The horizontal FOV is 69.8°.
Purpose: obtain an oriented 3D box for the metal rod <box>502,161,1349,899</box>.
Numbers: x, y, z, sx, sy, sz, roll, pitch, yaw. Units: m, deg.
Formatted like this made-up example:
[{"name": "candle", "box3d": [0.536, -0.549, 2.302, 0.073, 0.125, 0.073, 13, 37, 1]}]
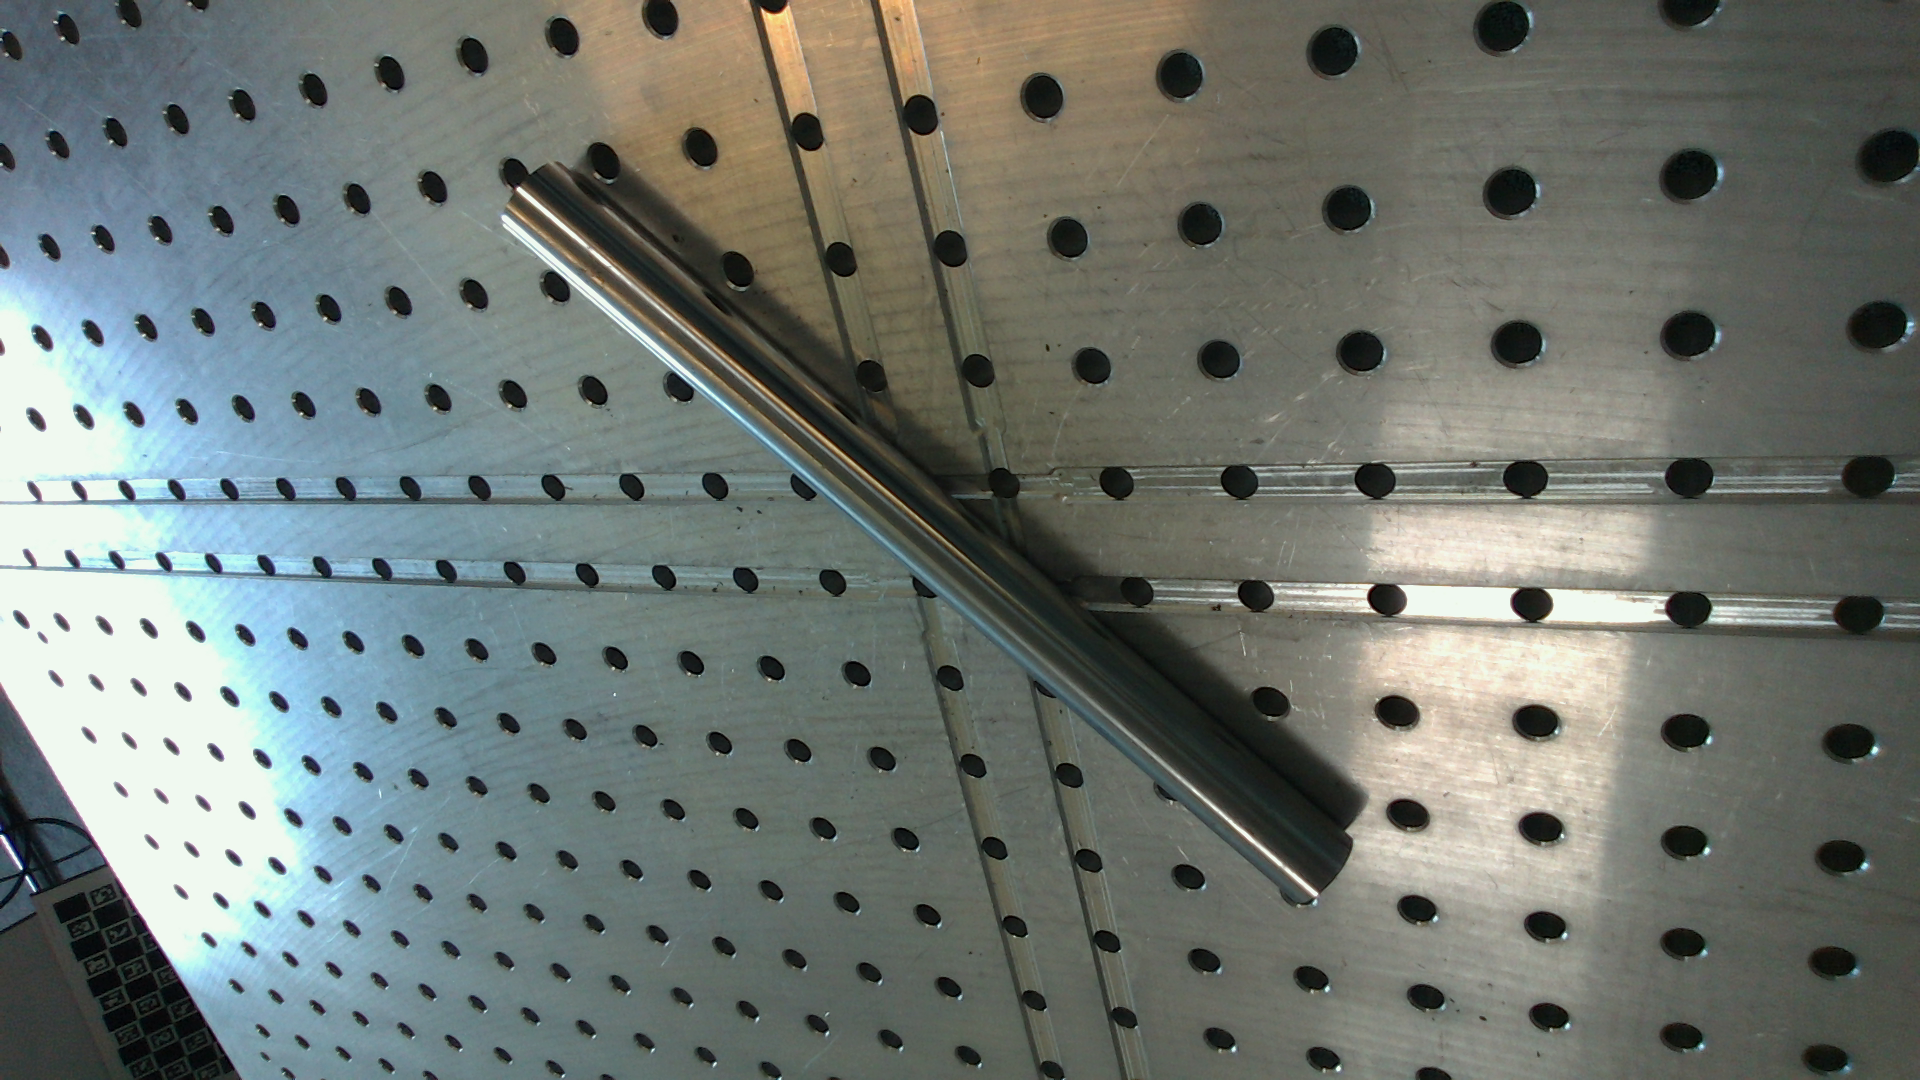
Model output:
[{"name": "metal rod", "box3d": [-0.010, -0.003, 0.400, 0.300, 0.025, 0.025, 40, 129, 0]}]
